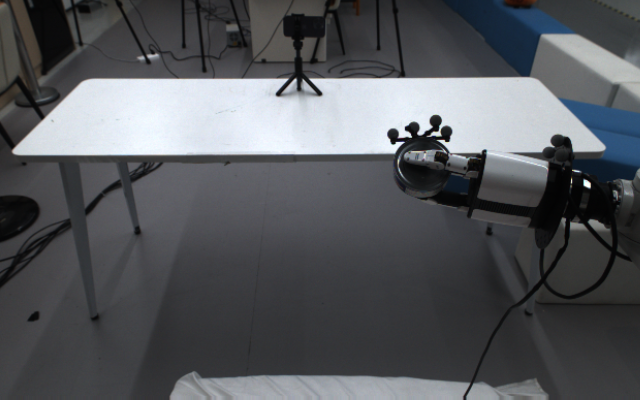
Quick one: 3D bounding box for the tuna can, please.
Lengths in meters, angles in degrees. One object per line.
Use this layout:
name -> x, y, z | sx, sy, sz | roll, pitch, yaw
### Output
tuna can -> 0.151, -0.049, 0.717 | 0.085, 0.034, 0.085 | -2, 69, 6
